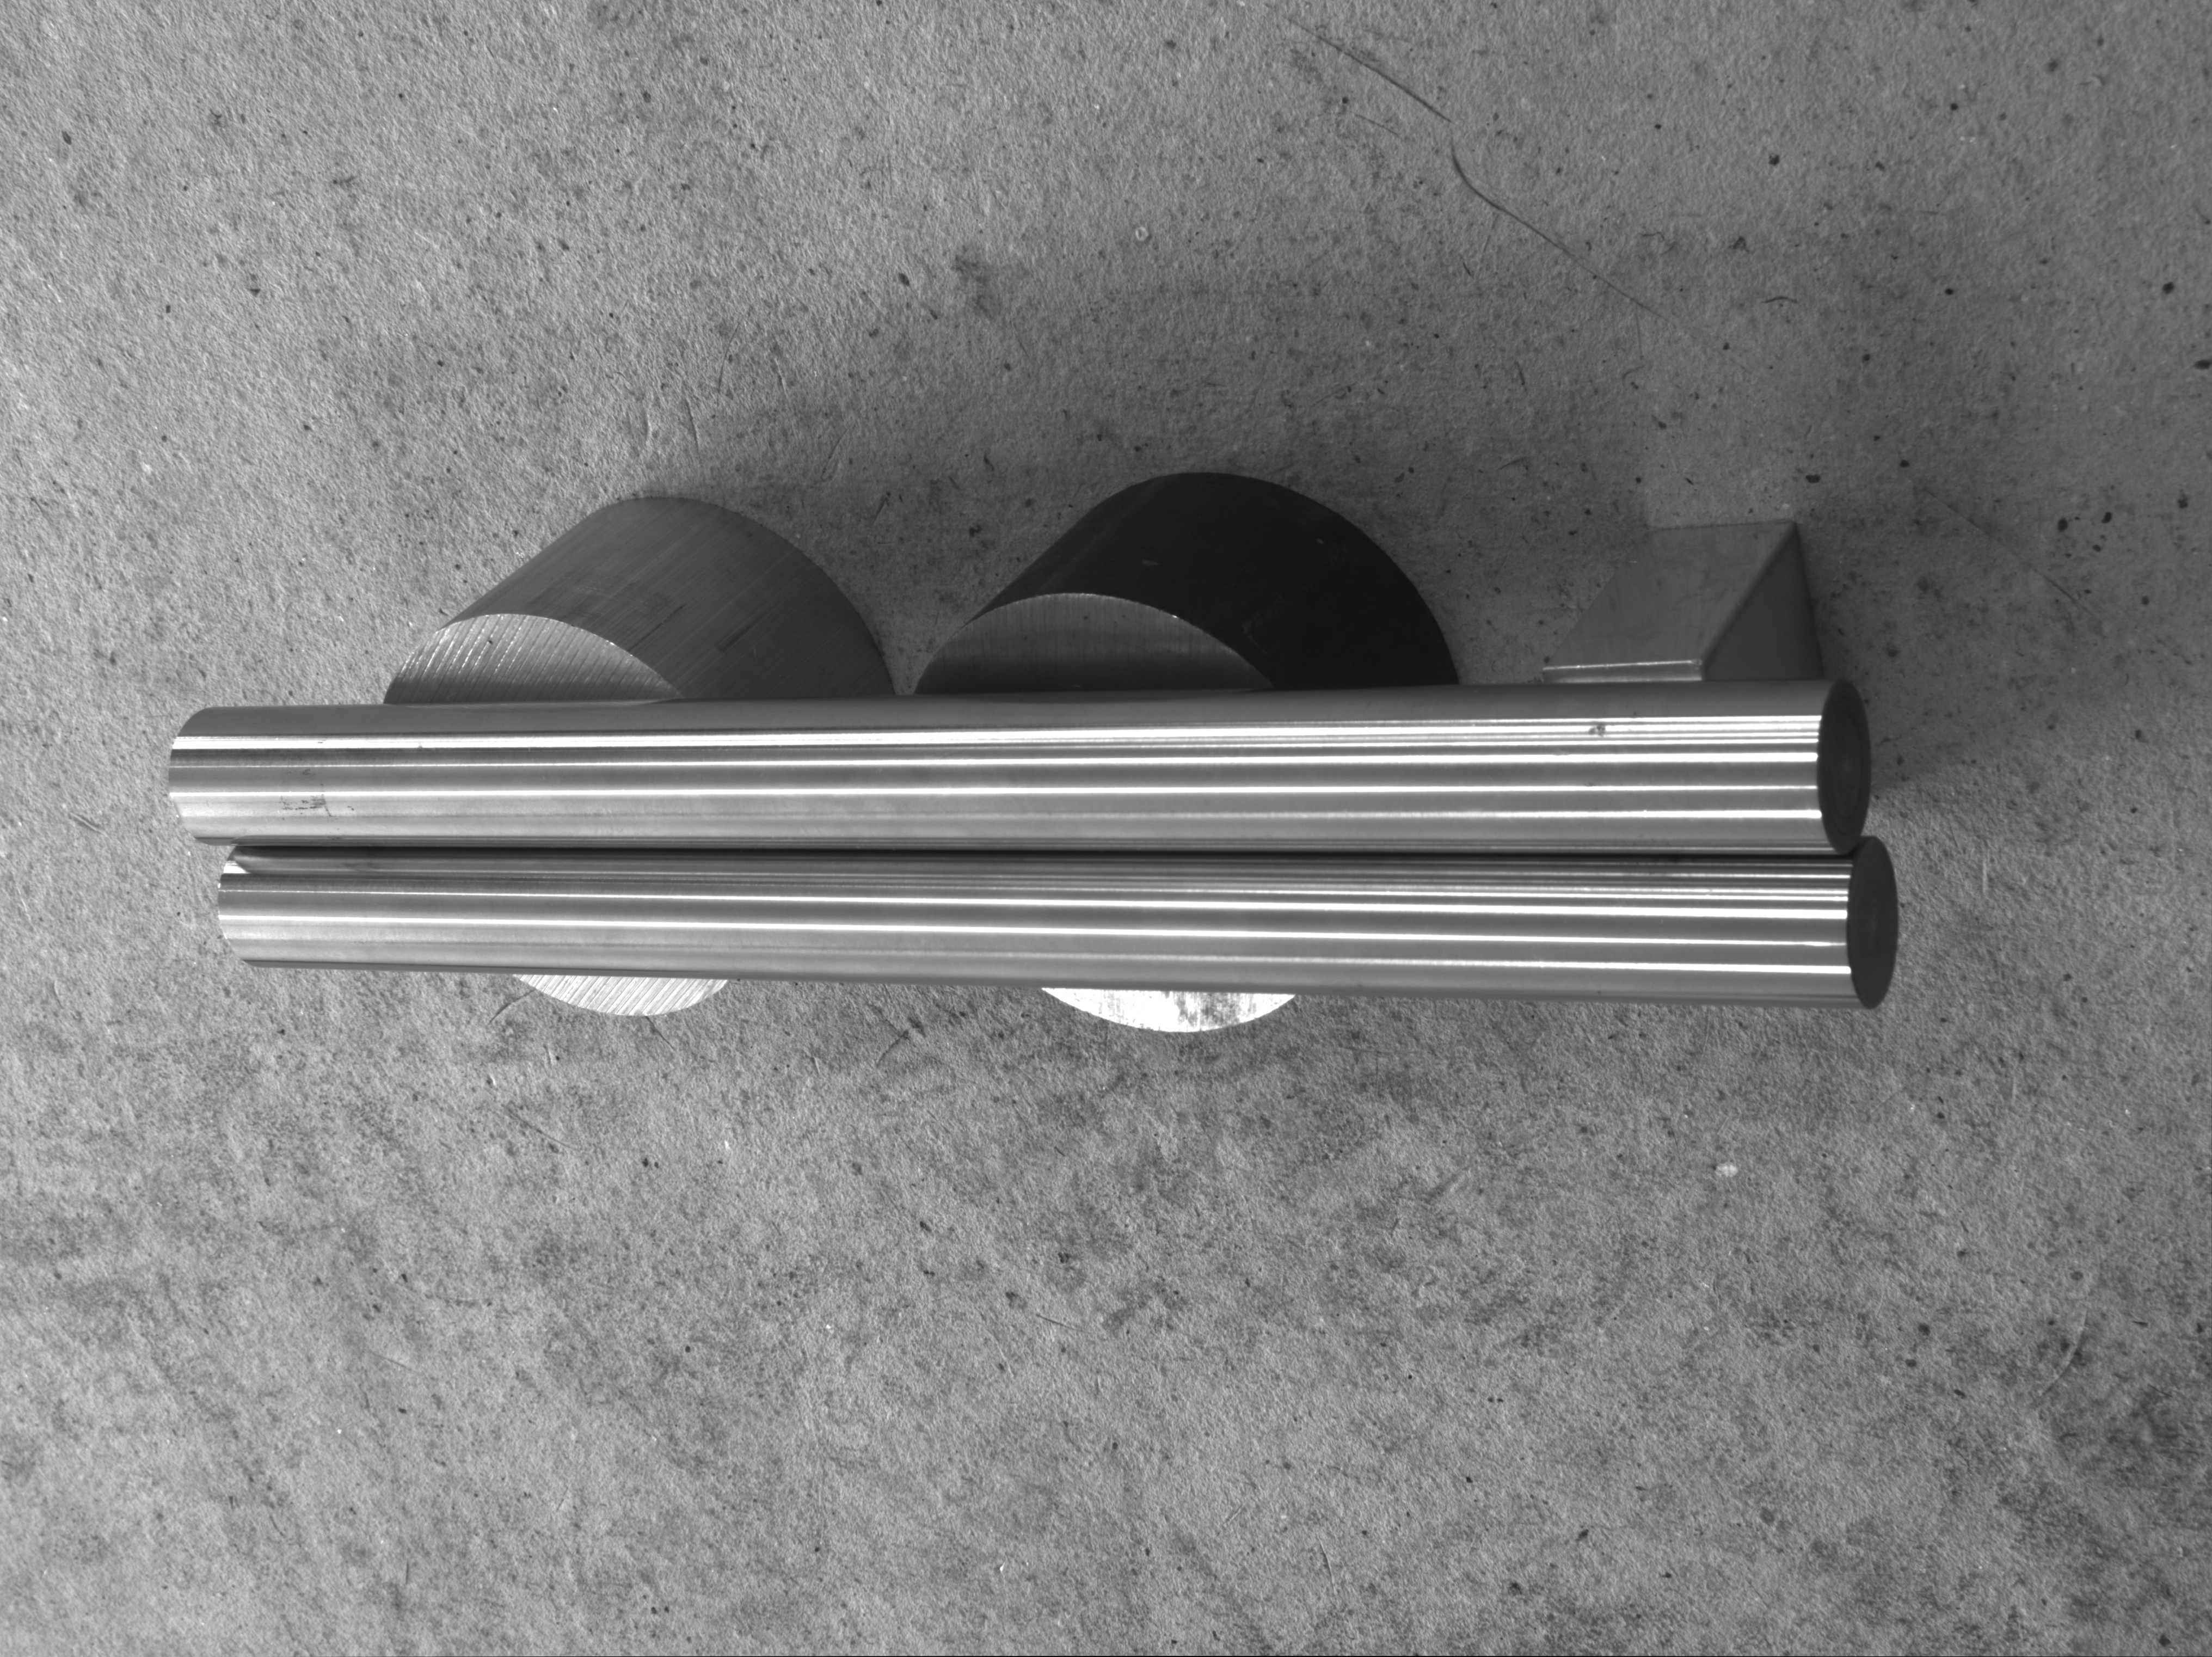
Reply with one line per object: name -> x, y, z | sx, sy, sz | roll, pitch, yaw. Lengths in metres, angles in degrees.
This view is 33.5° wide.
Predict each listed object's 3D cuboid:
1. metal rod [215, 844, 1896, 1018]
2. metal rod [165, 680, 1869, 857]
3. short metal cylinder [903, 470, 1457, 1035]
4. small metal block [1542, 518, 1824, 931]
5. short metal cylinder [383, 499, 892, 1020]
metal rod -> -0.022, 0.014, 0.598 | 0.299, 0.025, 0.025 | 0, 118, 28
metal rod -> -0.028, -0.009, 0.587 | 0.299, 0.025, 0.025 | 0, 118, 28
short metal cylinder -> 0.013, -0.013, 0.613 | 0.080, 0.050, 0.080 | 13, 124, 21
small metal block -> 0.093, -0.014, 0.570 | 0.025, 0.050, 0.050 | -2, 117, 29
short metal cylinder -> -0.084, -0.013, 0.663 | 0.080, 0.050, 0.080 | 13, 124, 21
